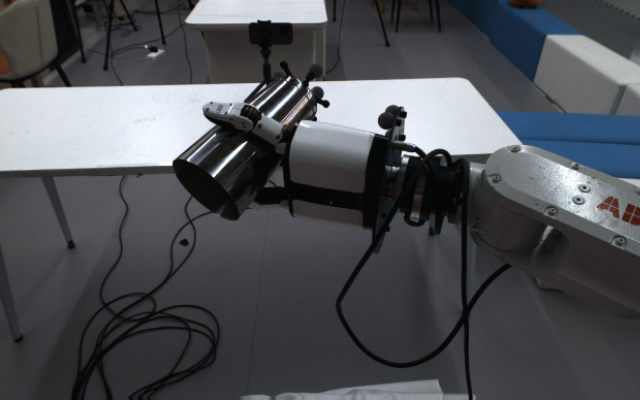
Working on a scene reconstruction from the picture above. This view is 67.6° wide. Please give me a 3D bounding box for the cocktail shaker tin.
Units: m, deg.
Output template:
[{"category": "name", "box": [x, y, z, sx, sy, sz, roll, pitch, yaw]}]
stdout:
[{"category": "cocktail shaker tin", "box": [-0.077, -0.073, 0.560, 0.093, 0.093, 0.170, 23, 57, 27]}]
